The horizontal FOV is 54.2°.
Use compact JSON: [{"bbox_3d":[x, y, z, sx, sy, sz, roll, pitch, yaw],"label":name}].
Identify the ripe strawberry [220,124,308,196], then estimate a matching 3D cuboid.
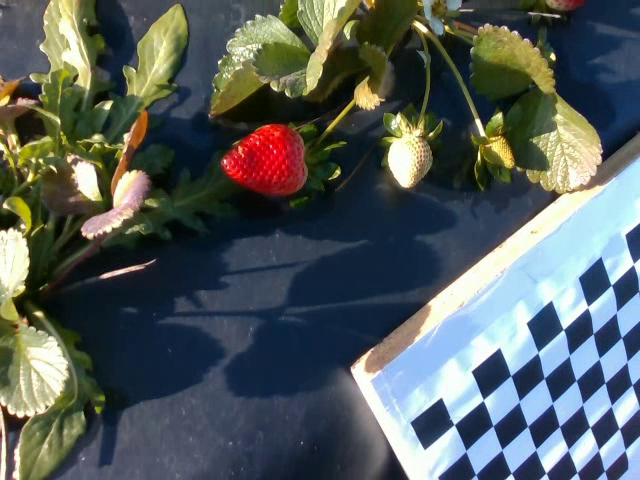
[{"bbox_3d":[-0.028,-0.039,0.295,0.053,0.044,0.036,-12,20,-34],"label":"ripe strawberry"}]
